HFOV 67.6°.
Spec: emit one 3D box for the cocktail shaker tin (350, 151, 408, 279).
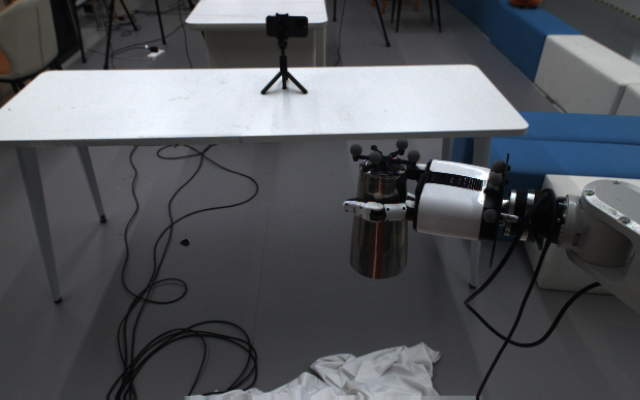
[{"bbox_3d":[0.094,0.019,0.725,0.093,0.170,0.093,-1,32,1],"label":"cocktail shaker tin"}]
